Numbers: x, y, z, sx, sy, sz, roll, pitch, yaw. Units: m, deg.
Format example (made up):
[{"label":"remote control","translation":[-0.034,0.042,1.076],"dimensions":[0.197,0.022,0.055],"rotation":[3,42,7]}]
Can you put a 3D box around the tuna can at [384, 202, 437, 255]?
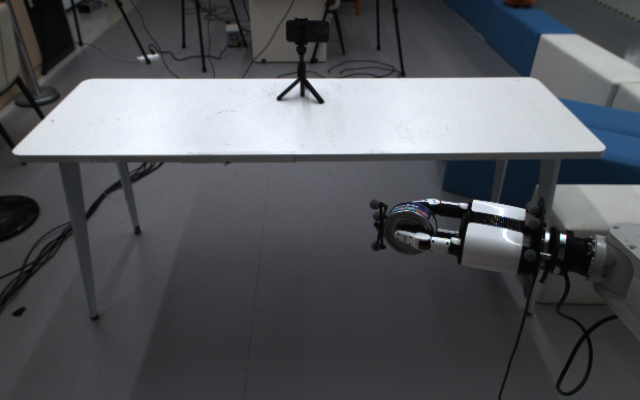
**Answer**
[{"label":"tuna can","translation":[0.151,0.049,0.800],"dimensions":[0.085,0.085,0.034],"rotation":[12,27,15]}]
